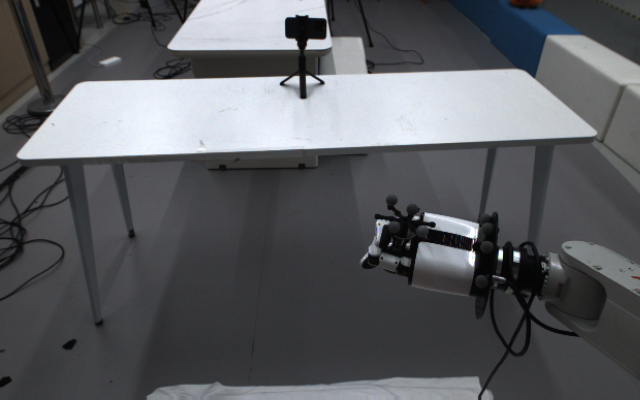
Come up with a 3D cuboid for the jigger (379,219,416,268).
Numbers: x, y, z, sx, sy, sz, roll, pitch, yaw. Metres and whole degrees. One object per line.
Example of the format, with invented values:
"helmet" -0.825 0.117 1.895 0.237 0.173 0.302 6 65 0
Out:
"jigger" 0.119 0.072 0.736 0.043 0.071 0.043 7 32 -4
